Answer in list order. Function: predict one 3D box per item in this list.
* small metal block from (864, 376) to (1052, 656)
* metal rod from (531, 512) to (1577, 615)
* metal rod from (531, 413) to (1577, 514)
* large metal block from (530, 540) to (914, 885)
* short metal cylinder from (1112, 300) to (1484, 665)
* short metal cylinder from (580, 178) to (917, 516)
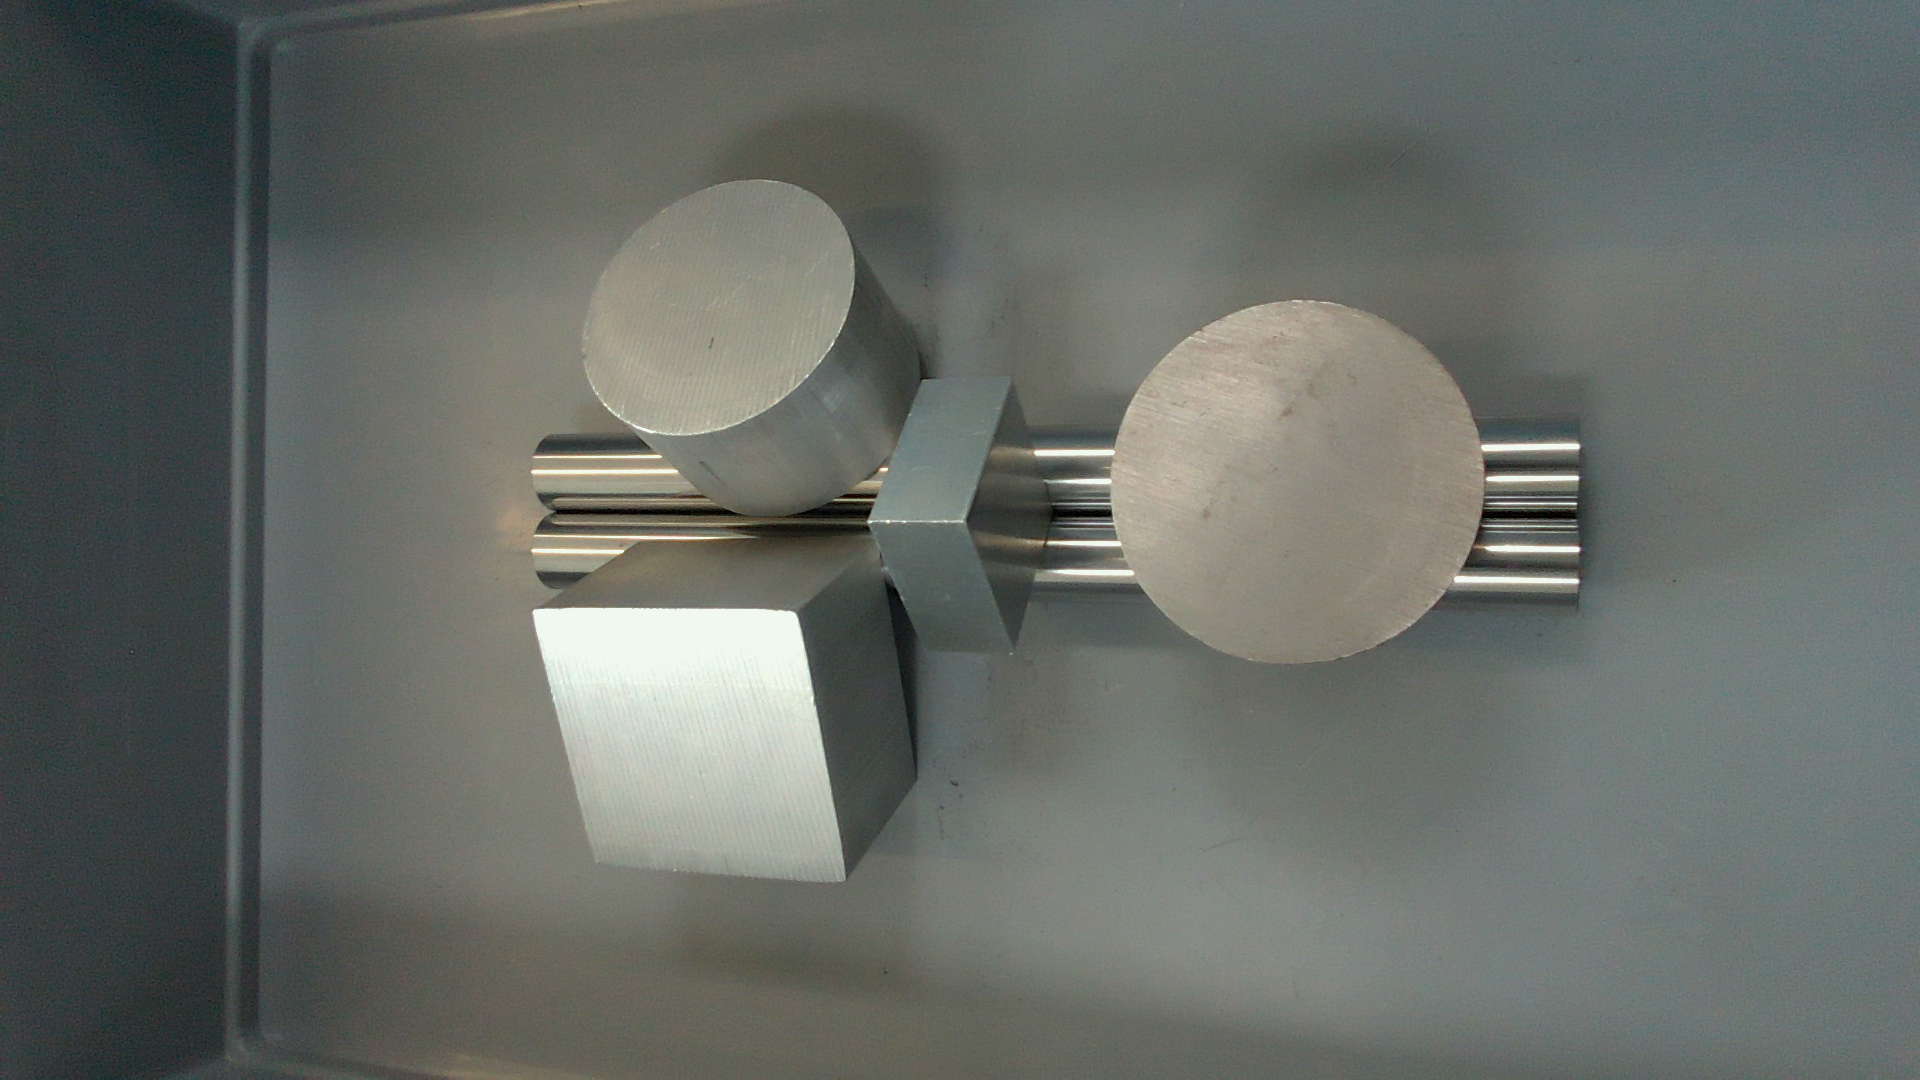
[{"bbox_3d":[0.001,-0.006,0.351,0.025,0.050,0.050,1,48,20],"label":"small metal block"},{"bbox_3d":[0.011,0.005,0.391,0.299,0.025,0.025,1,90,20],"label":"metal rod"},{"bbox_3d":[0.011,-0.020,0.391,0.299,0.025,0.025,1,90,20],"label":"metal rod"},{"bbox_3d":[-0.064,0.047,0.390,0.080,0.050,0.080,-1,110,20],"label":"large metal block"},{"bbox_3d":[0.081,-0.013,0.326,0.080,0.050,0.080,0,90,20],"label":"short metal cylinder"},{"bbox_3d":[-0.058,-0.053,0.387,0.080,0.050,0.080,-8,64,16],"label":"short metal cylinder"}]
